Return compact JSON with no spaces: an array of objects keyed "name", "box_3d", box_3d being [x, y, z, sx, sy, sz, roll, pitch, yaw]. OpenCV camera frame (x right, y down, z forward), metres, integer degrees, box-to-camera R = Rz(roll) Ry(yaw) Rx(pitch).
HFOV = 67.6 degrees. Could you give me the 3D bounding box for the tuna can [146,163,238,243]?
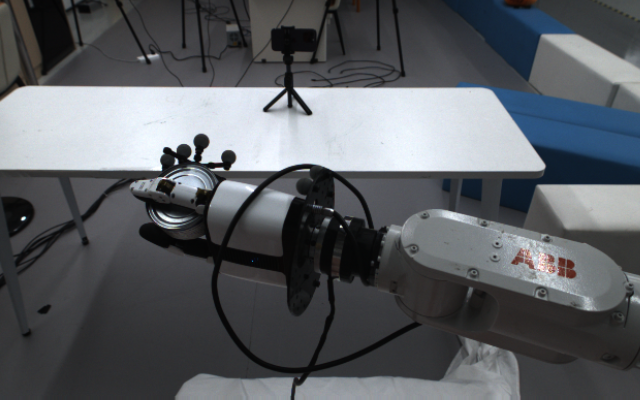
[{"name":"tuna can","box_3d":[-0.152,0.001,0.554,0.085,0.034,0.085,-6,59,10]}]
